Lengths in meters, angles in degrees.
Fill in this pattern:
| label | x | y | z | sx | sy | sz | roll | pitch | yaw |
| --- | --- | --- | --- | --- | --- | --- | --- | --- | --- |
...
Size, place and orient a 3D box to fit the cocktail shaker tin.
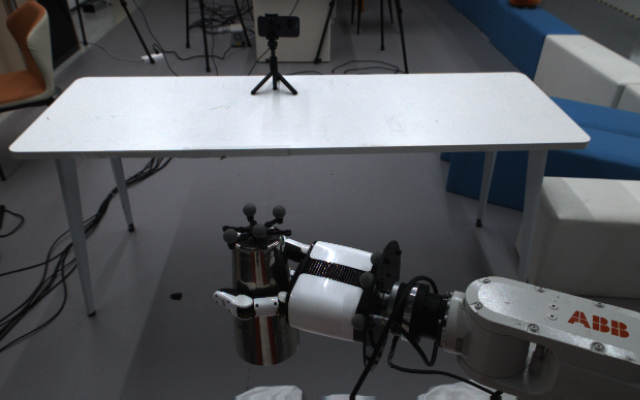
| label | x | y | z | sx | sy | sz | roll | pitch | yaw |
| --- | --- | --- | --- | --- | --- | --- | --- | --- | --- |
| cocktail shaker tin | -0.074 | 0.122 | 0.644 | 0.093 | 0.170 | 0.093 | -2 | 26 | 1 |
